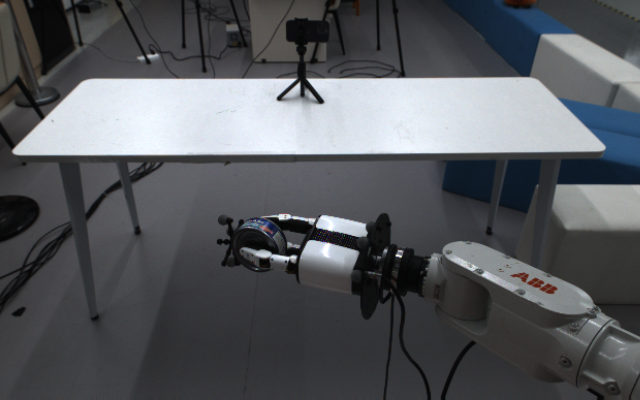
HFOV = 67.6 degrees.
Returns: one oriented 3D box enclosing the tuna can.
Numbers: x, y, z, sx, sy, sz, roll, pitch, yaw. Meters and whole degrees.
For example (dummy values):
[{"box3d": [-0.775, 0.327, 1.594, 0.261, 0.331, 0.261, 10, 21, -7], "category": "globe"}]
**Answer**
[{"box3d": [-0.096, 0.071, 0.773, 0.085, 0.085, 0.034, 12, 29, 14], "category": "tuna can"}]
